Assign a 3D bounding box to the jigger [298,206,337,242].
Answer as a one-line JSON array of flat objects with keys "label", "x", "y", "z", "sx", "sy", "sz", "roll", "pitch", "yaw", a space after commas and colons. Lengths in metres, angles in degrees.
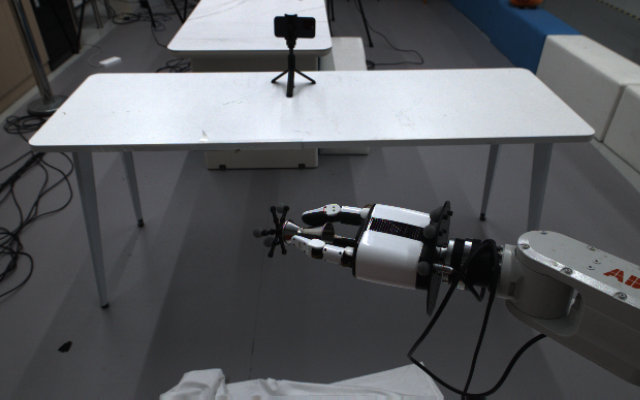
[{"label": "jigger", "x": -0.010, "y": 0.045, "z": 0.728, "sx": 0.071, "sy": 0.043, "sz": 0.043, "roll": 3, "pitch": 32, "yaw": 26}]
